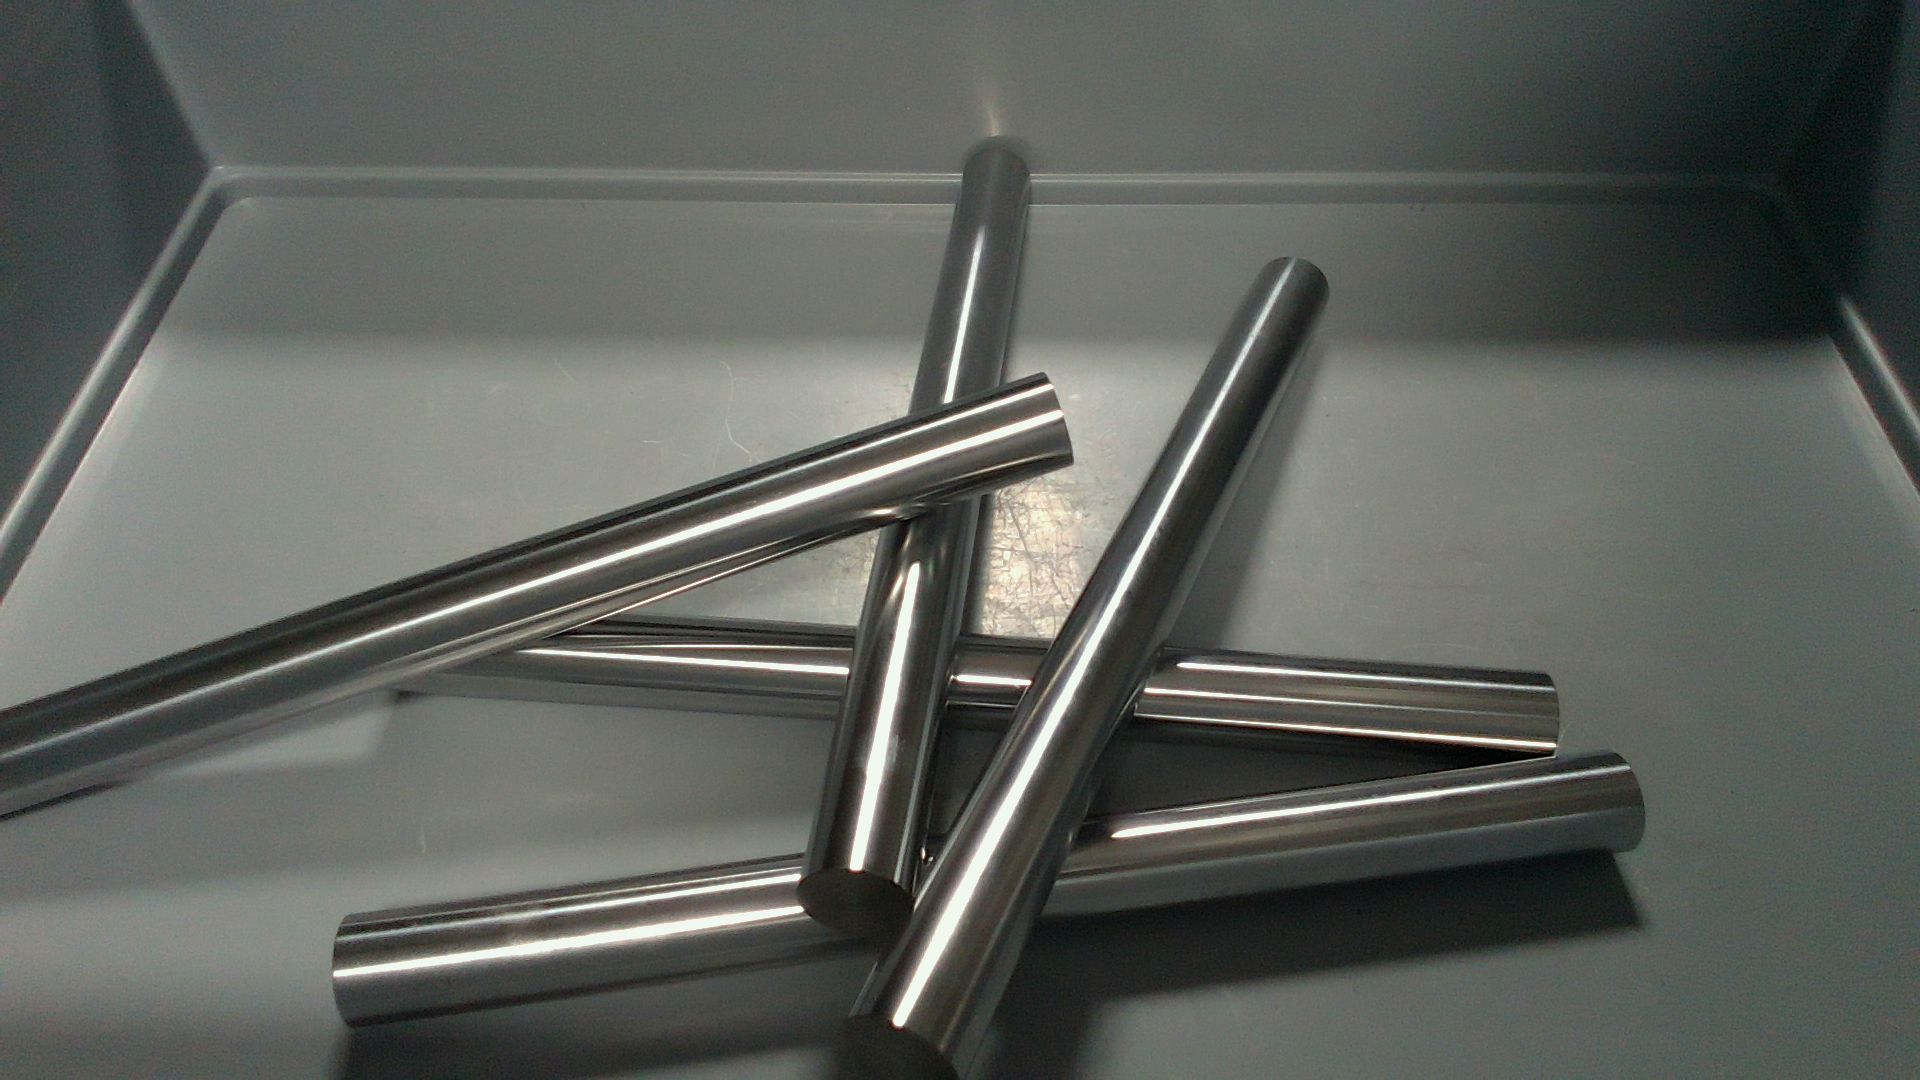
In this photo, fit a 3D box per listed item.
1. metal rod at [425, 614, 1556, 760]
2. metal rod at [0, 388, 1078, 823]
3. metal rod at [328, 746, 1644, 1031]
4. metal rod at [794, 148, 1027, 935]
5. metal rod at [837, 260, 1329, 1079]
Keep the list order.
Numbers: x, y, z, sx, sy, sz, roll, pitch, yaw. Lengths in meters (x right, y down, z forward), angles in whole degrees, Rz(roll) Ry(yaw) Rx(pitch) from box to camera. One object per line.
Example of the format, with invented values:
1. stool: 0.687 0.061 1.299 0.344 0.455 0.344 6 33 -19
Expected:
1. metal rod: -0.002 0.036 0.359 0.300 0.025 0.025 3 50 3
2. metal rod: -0.115 0.018 0.342 0.300 0.025 0.025 -18 52 -8
3. metal rod: 0.012 0.080 0.323 0.300 0.025 0.025 -7 50 -5
4. metal rod: -0.004 -0.028 0.391 0.025 0.025 0.300 5 44 4
5. metal rod: 0.050 0.008 0.357 0.025 0.025 0.301 19 45 15
